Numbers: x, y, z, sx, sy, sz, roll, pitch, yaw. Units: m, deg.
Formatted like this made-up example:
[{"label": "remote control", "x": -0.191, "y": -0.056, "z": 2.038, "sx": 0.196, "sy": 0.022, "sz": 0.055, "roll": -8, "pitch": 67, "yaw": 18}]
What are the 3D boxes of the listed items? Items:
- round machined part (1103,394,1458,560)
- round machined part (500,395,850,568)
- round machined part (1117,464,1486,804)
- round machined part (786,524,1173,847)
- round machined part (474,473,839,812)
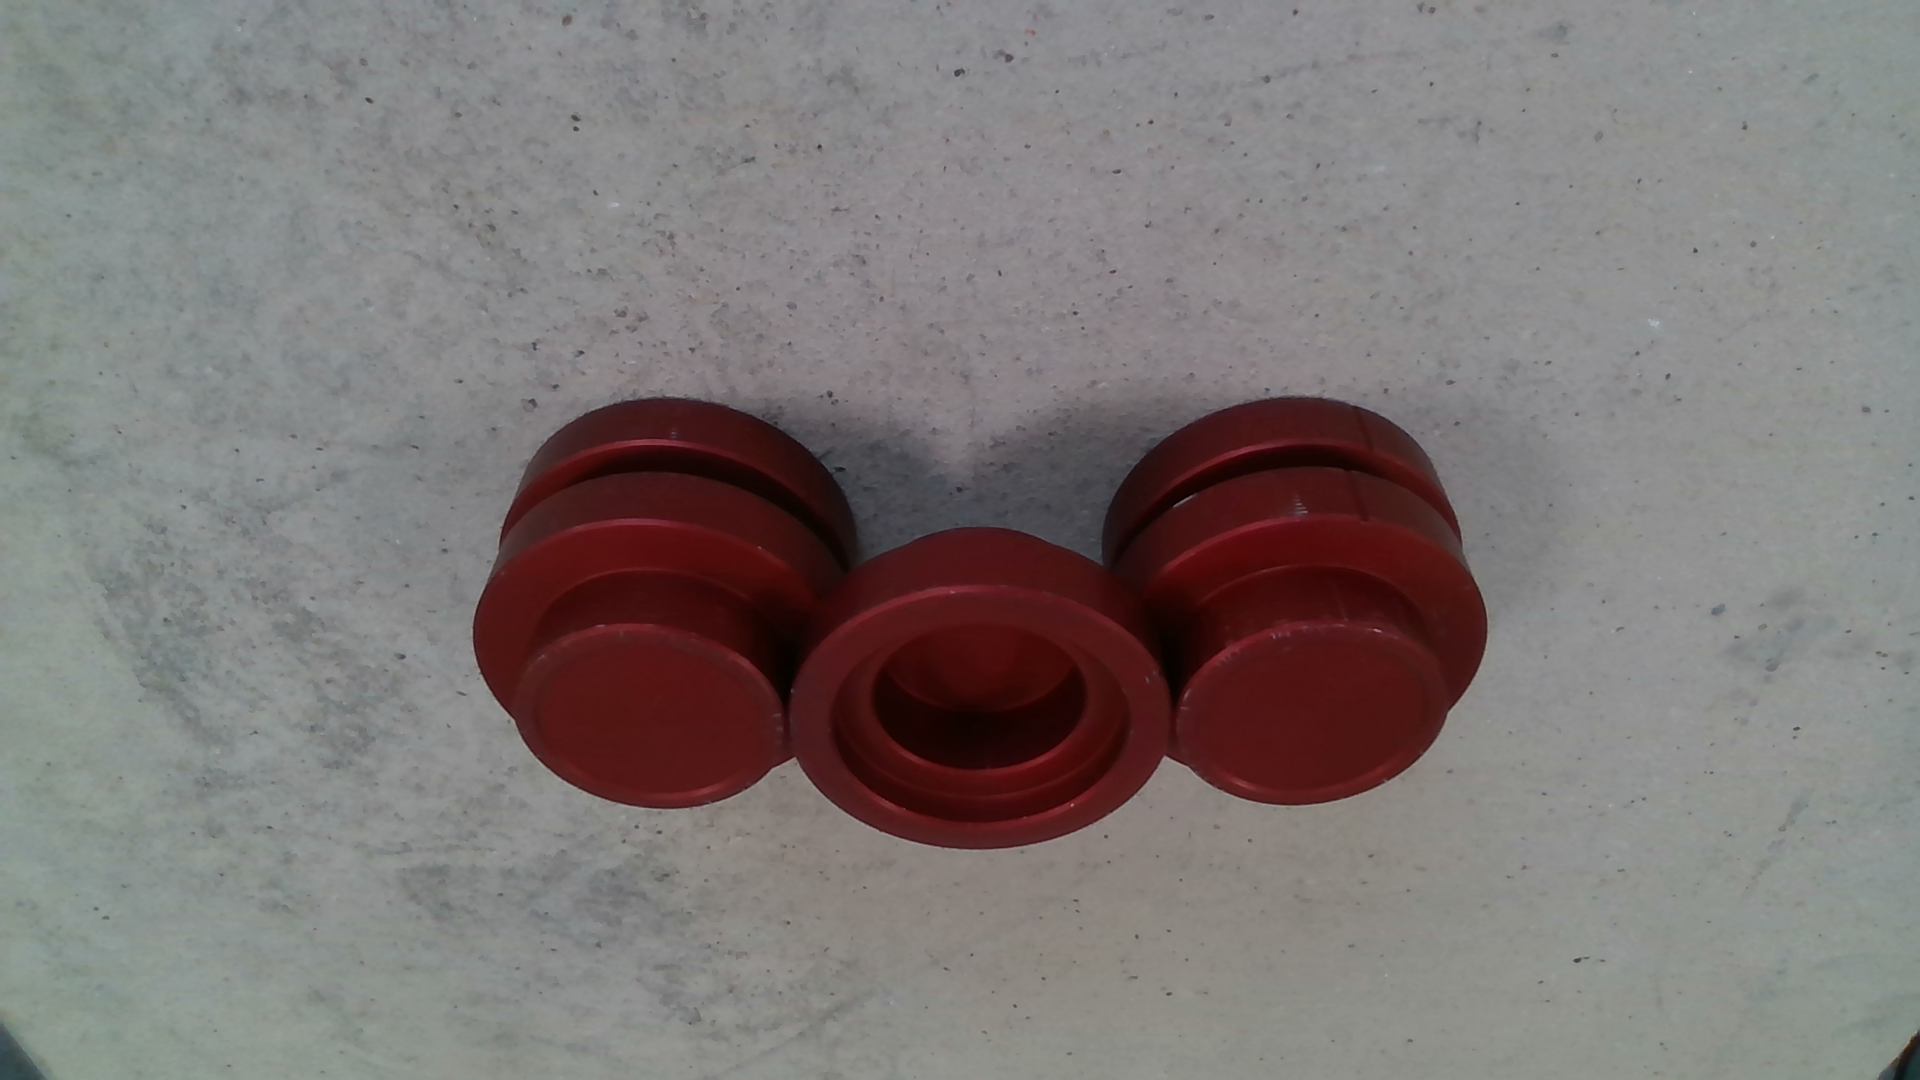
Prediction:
[{"label": "round machined part", "x": 0.091, "y": 0.011, "z": 0.387, "sx": 0.098, "sy": 0.042, "sz": 0.098, "roll": 0, "pitch": 128, "yaw": 0}, {"label": "round machined part", "x": -0.080, "y": 0.011, "z": 0.389, "sx": 0.098, "sy": 0.042, "sz": 0.098, "roll": -1, "pitch": 129, "yaw": -1}, {"label": "round machined part", "x": 0.088, "y": 0.032, "z": 0.362, "sx": 0.098, "sy": 0.042, "sz": 0.098, "roll": 0, "pitch": 129, "yaw": 0}, {"label": "round machined part", "x": 0.005, "y": 0.035, "z": 0.366, "sx": 0.098, "sy": 0.042, "sz": 0.098, "roll": 0, "pitch": 130, "yaw": 0}, {"label": "round machined part", "x": -0.078, "y": 0.034, "z": 0.363, "sx": 0.098, "sy": 0.042, "sz": 0.098, "roll": 0, "pitch": 129, "yaw": 0}]
